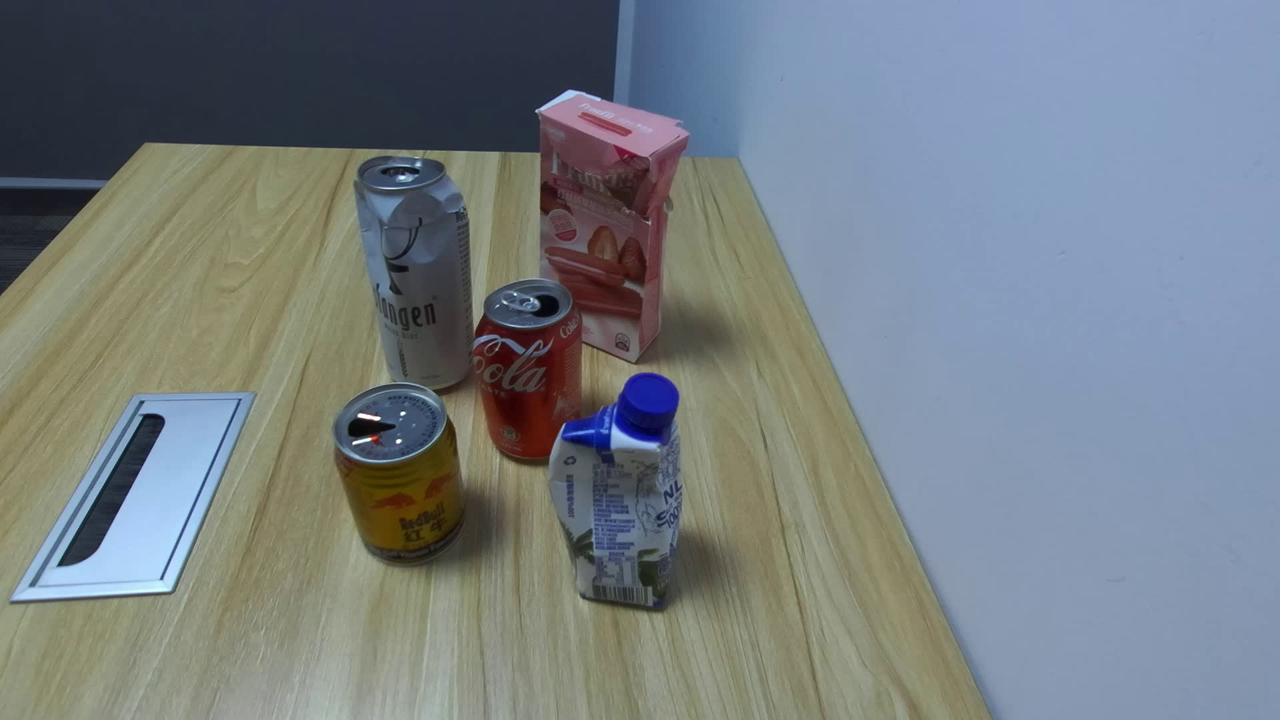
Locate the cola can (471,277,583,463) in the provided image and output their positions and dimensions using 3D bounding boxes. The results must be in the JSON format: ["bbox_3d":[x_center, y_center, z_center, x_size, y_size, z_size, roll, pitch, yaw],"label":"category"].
[{"bbox_3d":[-0.071,0.009,0.471,0.072,0.117,0.065,-30,54,-34],"label":"cola can"}]

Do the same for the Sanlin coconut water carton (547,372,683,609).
[{"bbox_3d":[-0.011,0.068,0.390,0.068,0.145,0.056,0,34,6],"label":"Sanlin coconut water carton"}]

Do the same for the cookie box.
[{"bbox_3d":[-0.026,-0.095,0.535,0.104,0.186,0.059,25,46,19],"label":"cookie box"}]

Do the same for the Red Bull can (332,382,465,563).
[{"bbox_3d":[-0.139,0.067,0.415,0.067,0.093,0.067,4,42,-3],"label":"Red Bull can"}]

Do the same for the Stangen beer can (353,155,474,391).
[{"bbox_3d":[-0.154,-0.058,0.497,0.066,0.166,0.065,-19,48,-27],"label":"Stangen beer can"}]
